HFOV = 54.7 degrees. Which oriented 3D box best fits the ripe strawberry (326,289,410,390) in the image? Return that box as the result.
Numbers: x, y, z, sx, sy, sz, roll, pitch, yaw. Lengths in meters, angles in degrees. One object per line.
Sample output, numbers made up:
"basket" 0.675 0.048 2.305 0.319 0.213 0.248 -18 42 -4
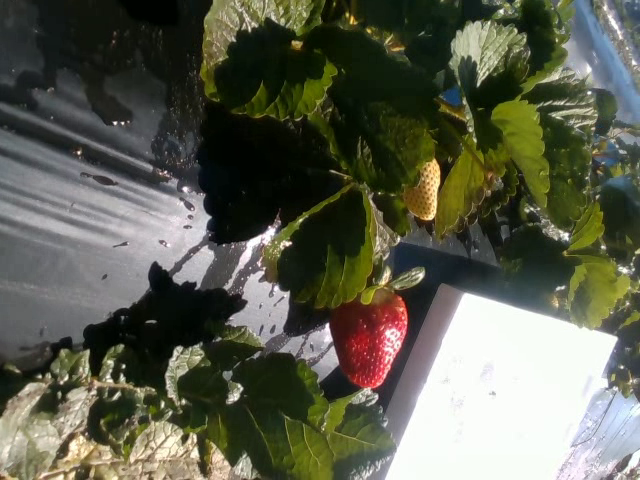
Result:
"ripe strawberry" 0.028 0.059 0.353 0.048 0.069 0.040 -6 16 -39
